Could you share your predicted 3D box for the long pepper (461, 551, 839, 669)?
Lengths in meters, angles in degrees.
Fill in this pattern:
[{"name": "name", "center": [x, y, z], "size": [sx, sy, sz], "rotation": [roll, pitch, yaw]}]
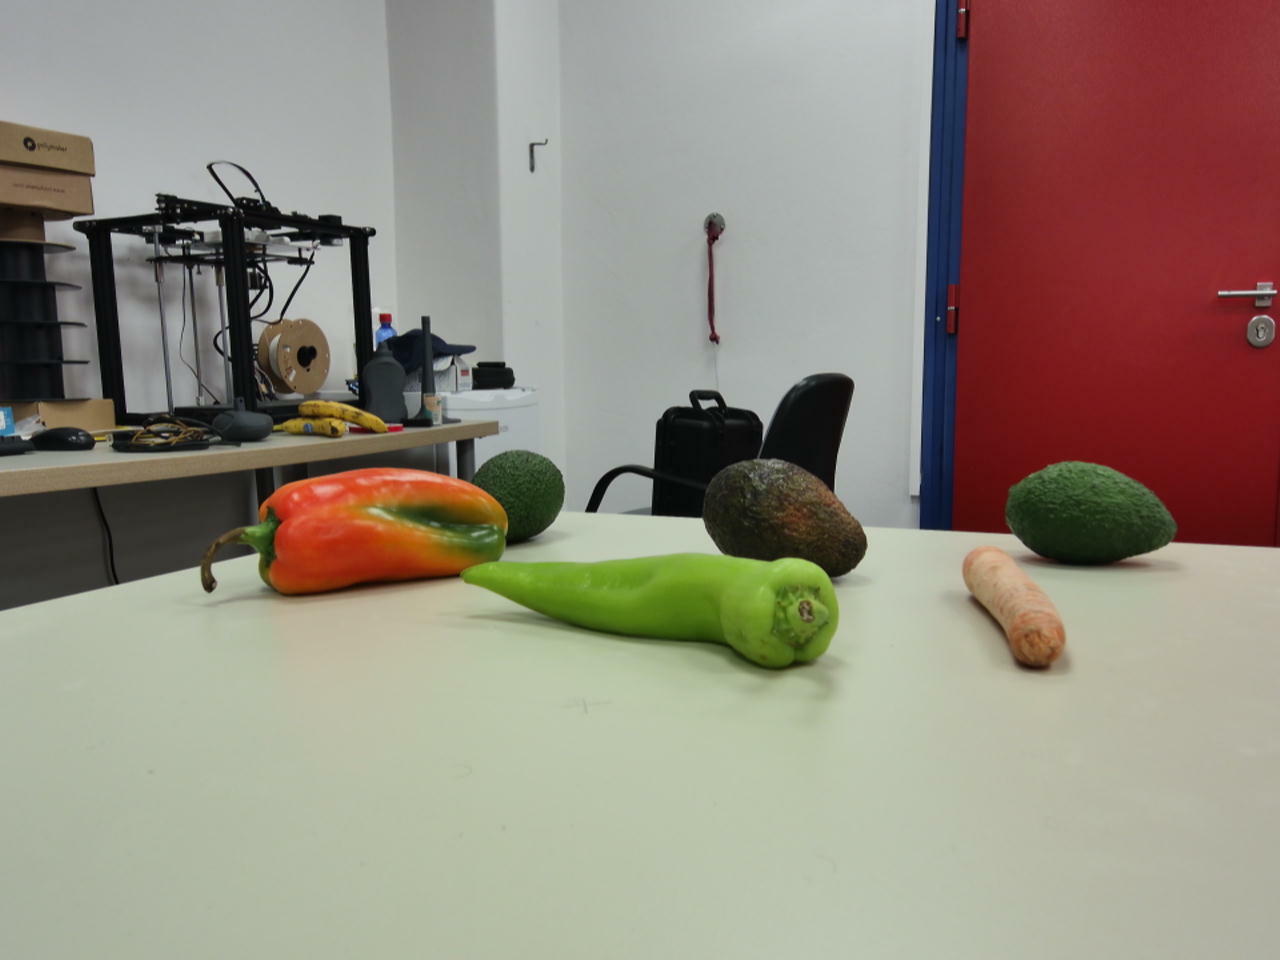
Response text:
[{"name": "long pepper", "center": [0.008, 0.052, 0.462], "size": [0.205, 0.045, 0.065], "rotation": [3, 5, 41]}]
